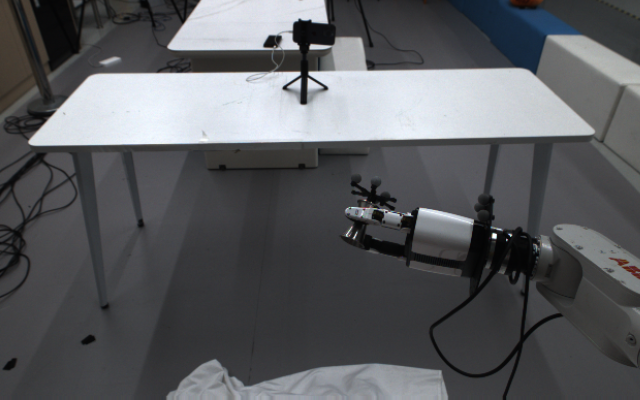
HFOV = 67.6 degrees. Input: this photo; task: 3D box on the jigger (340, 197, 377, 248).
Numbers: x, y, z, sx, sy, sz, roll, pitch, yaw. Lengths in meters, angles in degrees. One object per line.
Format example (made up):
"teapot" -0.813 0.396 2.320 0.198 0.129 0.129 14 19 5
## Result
"jigger" 0.063 0.034 0.771 0.043 0.043 0.071 21 73 25
